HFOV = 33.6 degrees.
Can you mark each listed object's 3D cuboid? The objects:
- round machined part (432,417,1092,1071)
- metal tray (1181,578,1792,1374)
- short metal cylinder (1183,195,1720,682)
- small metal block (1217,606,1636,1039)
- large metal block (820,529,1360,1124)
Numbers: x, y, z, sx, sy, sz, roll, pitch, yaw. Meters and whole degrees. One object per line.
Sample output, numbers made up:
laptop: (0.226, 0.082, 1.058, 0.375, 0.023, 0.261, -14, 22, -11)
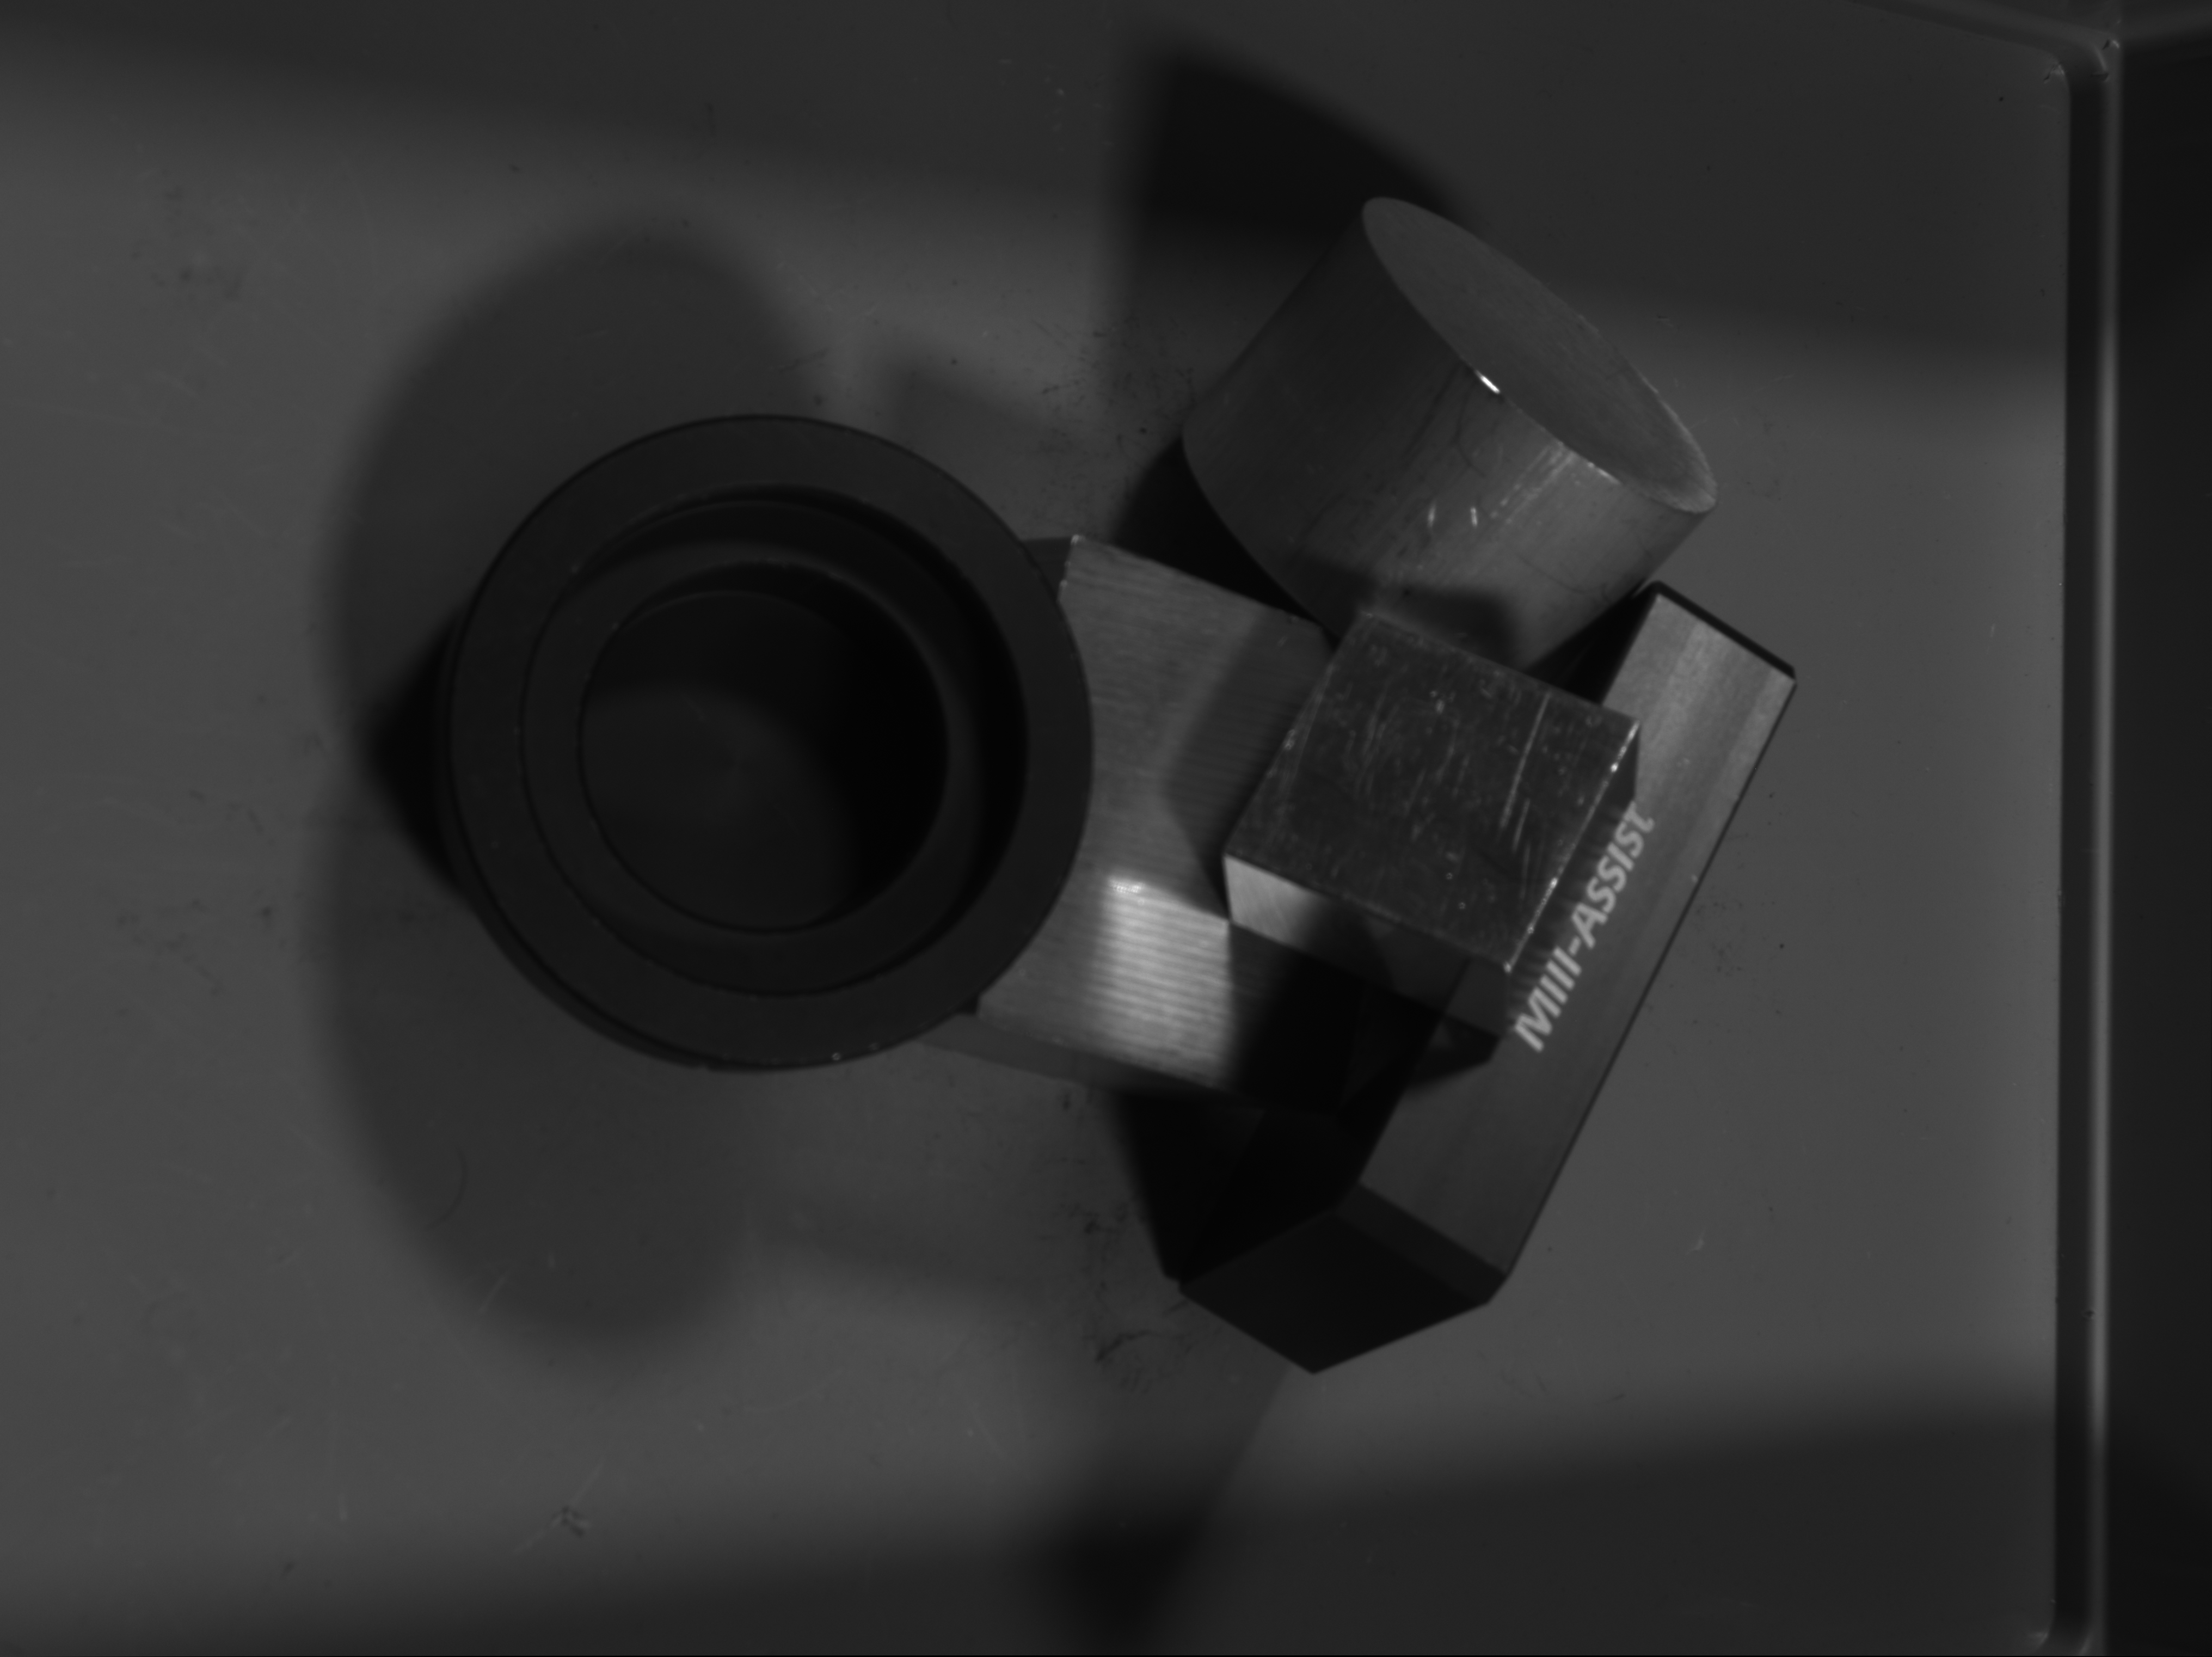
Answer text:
round machined part: (-0.055, -0.011, 0.564, 0.098, 0.042, 0.098, 2, 84, -17)
metal tray: (0.066, 0.028, 0.647, 0.030, 0.090, 0.130, 32, 67, -6)
short metal cylinder: (0.061, -0.065, 0.642, 0.080, 0.080, 0.050, 21, 121, -38)
small metal block: (0.052, -0.001, 0.596, 0.050, 0.050, 0.025, -60, 162, -22)
large metal block: (0.001, 0.001, 0.621, 0.080, 0.050, 0.080, 19, 78, -38)
